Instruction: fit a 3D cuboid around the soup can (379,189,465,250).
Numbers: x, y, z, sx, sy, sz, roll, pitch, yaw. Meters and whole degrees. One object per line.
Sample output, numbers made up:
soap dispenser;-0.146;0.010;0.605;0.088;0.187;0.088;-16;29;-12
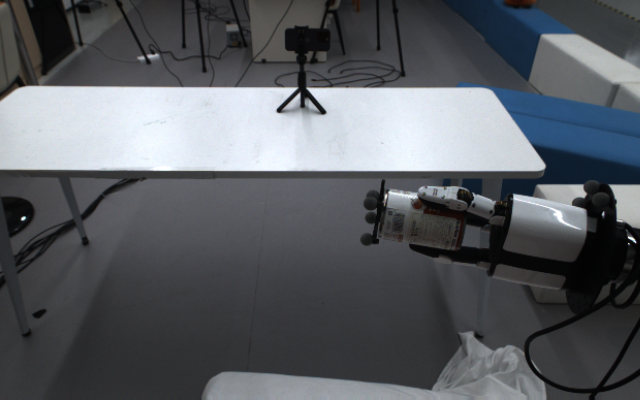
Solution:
soup can;0.133;0.024;0.622;0.101;0.067;0.067;9;35;9
